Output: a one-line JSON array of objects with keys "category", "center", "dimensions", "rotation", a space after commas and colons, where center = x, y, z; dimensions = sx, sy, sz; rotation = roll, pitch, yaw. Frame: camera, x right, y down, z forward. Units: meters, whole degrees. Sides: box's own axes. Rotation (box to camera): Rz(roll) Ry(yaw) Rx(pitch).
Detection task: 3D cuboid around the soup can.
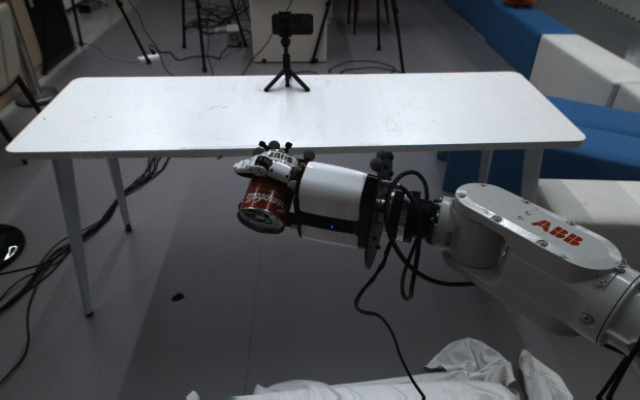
[{"category": "soup can", "center": [-0.068, -0.013, 0.676], "dimensions": [0.067, 0.067, 0.101], "rotation": [9, 58, 10]}]
